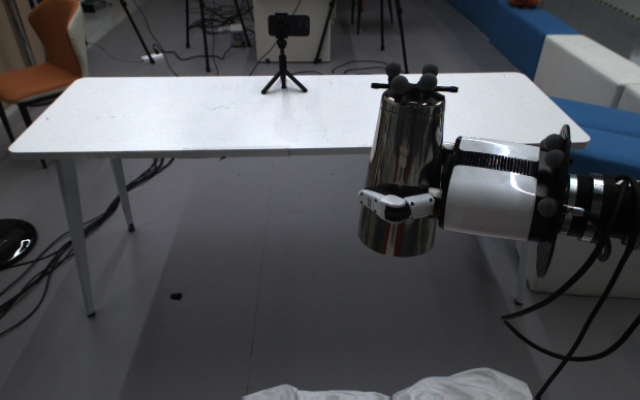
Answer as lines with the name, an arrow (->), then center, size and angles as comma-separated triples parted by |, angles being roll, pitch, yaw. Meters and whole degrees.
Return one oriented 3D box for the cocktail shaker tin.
cocktail shaker tin -> 0.097, -0.033, 0.541 | 0.093, 0.170, 0.093 | 2, 28, -1
